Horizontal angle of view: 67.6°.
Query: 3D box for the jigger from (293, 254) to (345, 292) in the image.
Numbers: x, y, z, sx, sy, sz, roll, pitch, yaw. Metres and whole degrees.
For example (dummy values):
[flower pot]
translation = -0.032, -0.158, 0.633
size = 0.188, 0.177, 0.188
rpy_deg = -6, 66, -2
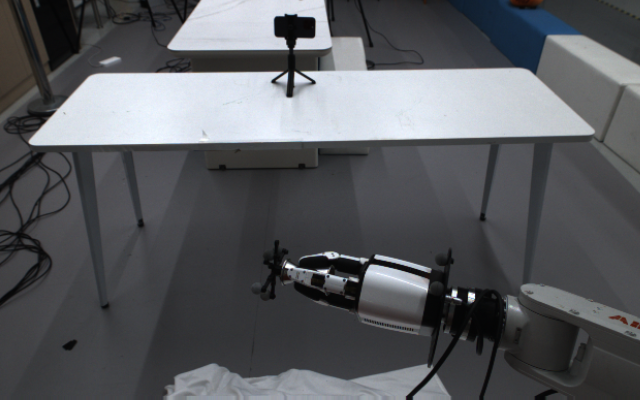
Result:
[jigger]
translation = -0.011, 0.103, 0.685
size = 0.071, 0.043, 0.043
rpy_deg = 7, 35, 16
